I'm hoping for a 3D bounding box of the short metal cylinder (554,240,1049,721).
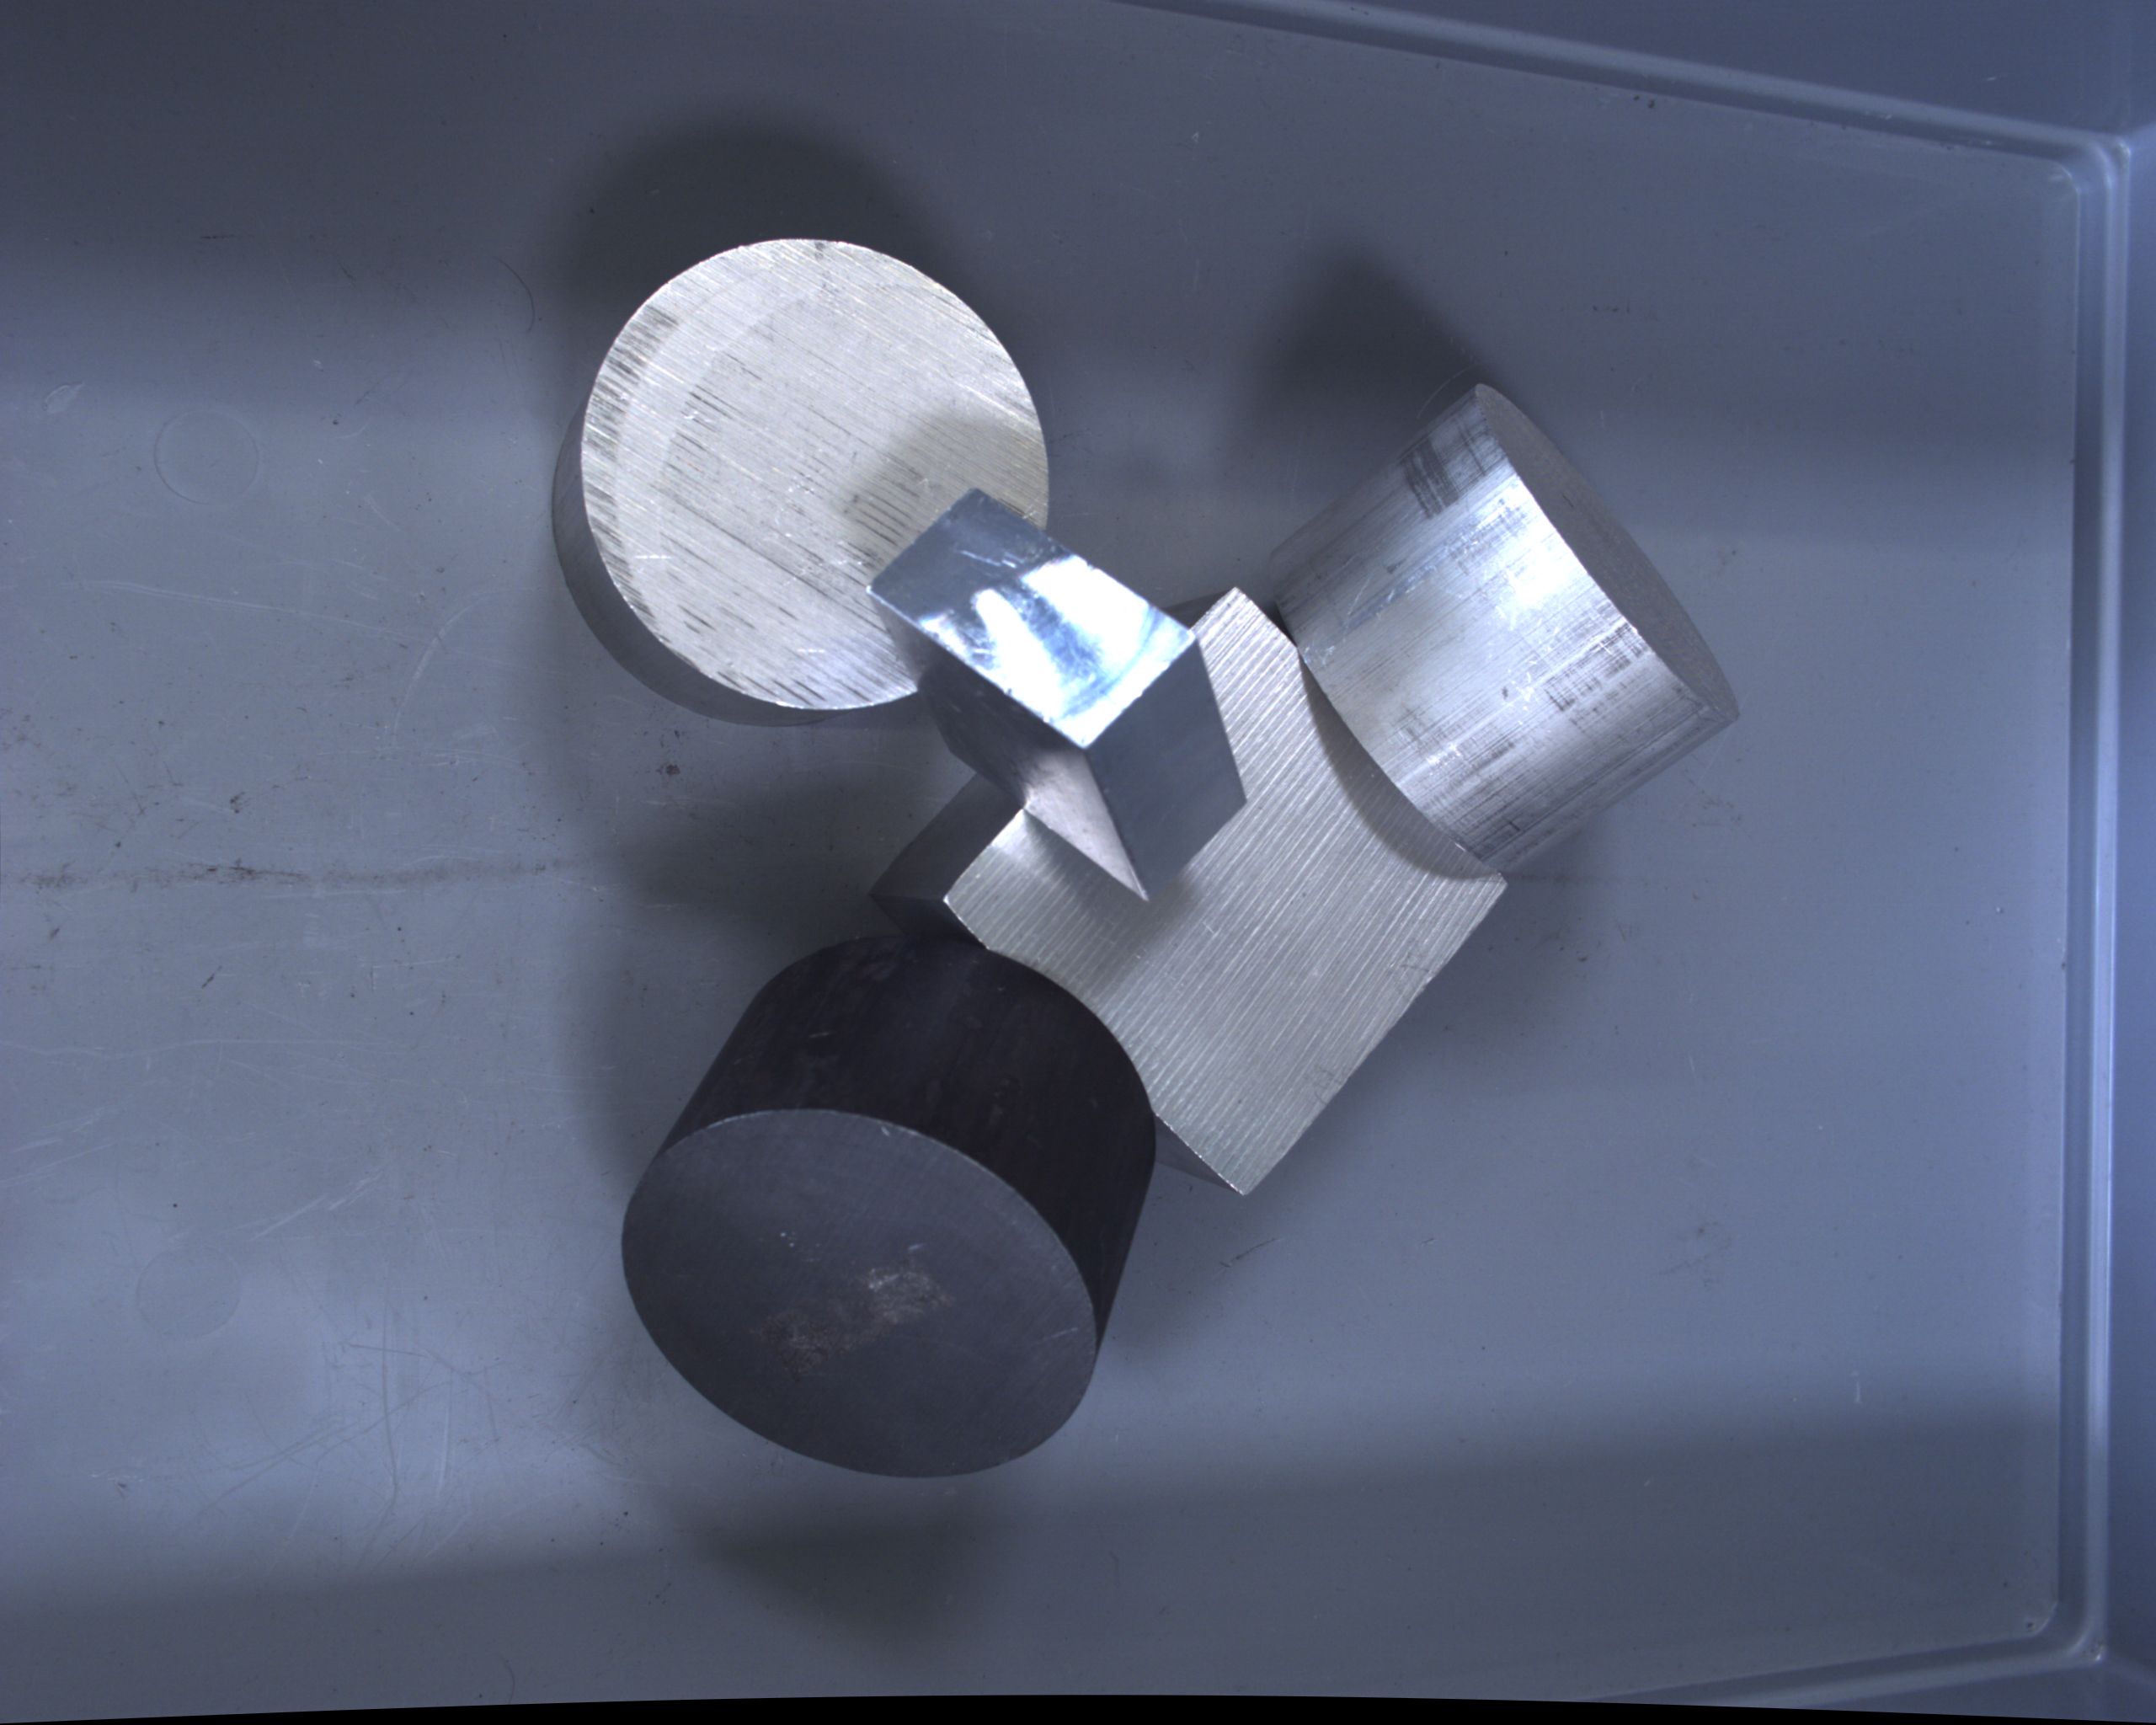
[{"bbox_3d":[-0.052,-0.066,0.377,0.081,0.050,0.079,0,90,-20],"label":"short metal cylinder"}]

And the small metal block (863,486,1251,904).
[{"bbox_3d":[-0.002,-0.027,0.342,0.050,0.050,0.025,37,76,28],"label":"small metal block"}]

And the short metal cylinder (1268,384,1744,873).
[{"bbox_3d":[0.082,-0.045,0.402,0.050,0.080,0.080,-38,106,24],"label":"short metal cylinder"}]

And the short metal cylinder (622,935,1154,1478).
[{"bbox_3d":[-0.031,0.060,0.362,0.080,0.050,0.079,7,122,11],"label":"short metal cylinder"}]

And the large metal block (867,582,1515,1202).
[{"bbox_3d":[0.021,0.005,0.401,0.080,0.050,0.080,46,76,-14],"label":"large metal block"}]
